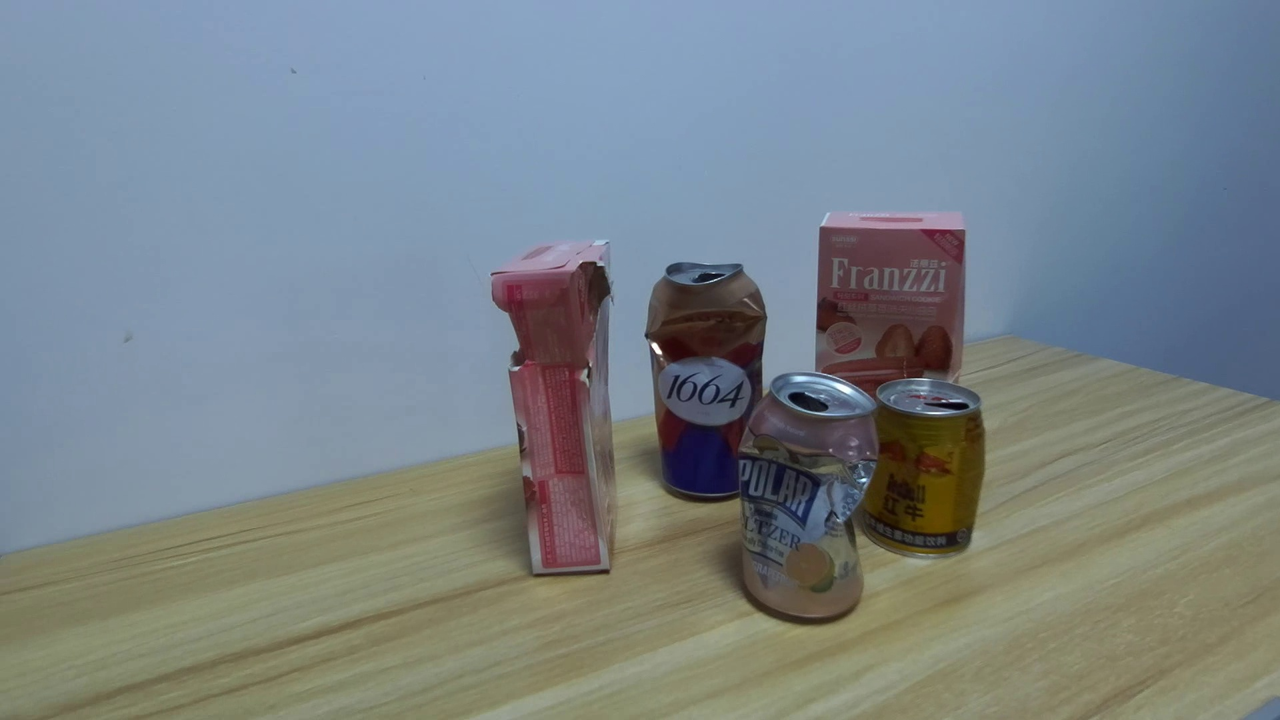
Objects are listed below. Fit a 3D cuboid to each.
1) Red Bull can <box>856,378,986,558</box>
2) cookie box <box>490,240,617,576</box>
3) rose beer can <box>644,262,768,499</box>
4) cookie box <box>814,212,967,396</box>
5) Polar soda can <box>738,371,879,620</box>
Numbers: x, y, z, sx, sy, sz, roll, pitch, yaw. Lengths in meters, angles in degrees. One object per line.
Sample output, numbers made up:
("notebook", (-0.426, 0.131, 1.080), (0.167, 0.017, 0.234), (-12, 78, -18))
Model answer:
("Red Bull can", (0.173, 0.065, 0.433), (0.069, 0.092, 0.069), (-2, 17, 1))
("cookie box", (-0.040, 0.027, 0.430), (0.059, 0.186, 0.105), (-2, 18, 5))
("rose beer can", (0.048, 0.015, 0.493), (0.074, 0.162, 0.068), (-8, 18, -14))
("cookie box", (0.187, -0.012, 0.526), (0.105, 0.188, 0.049), (4, 25, 20))
("Polar soda can", (0.094, 0.073, 0.375), (0.067, 0.121, 0.070), (-8, 18, -36))
